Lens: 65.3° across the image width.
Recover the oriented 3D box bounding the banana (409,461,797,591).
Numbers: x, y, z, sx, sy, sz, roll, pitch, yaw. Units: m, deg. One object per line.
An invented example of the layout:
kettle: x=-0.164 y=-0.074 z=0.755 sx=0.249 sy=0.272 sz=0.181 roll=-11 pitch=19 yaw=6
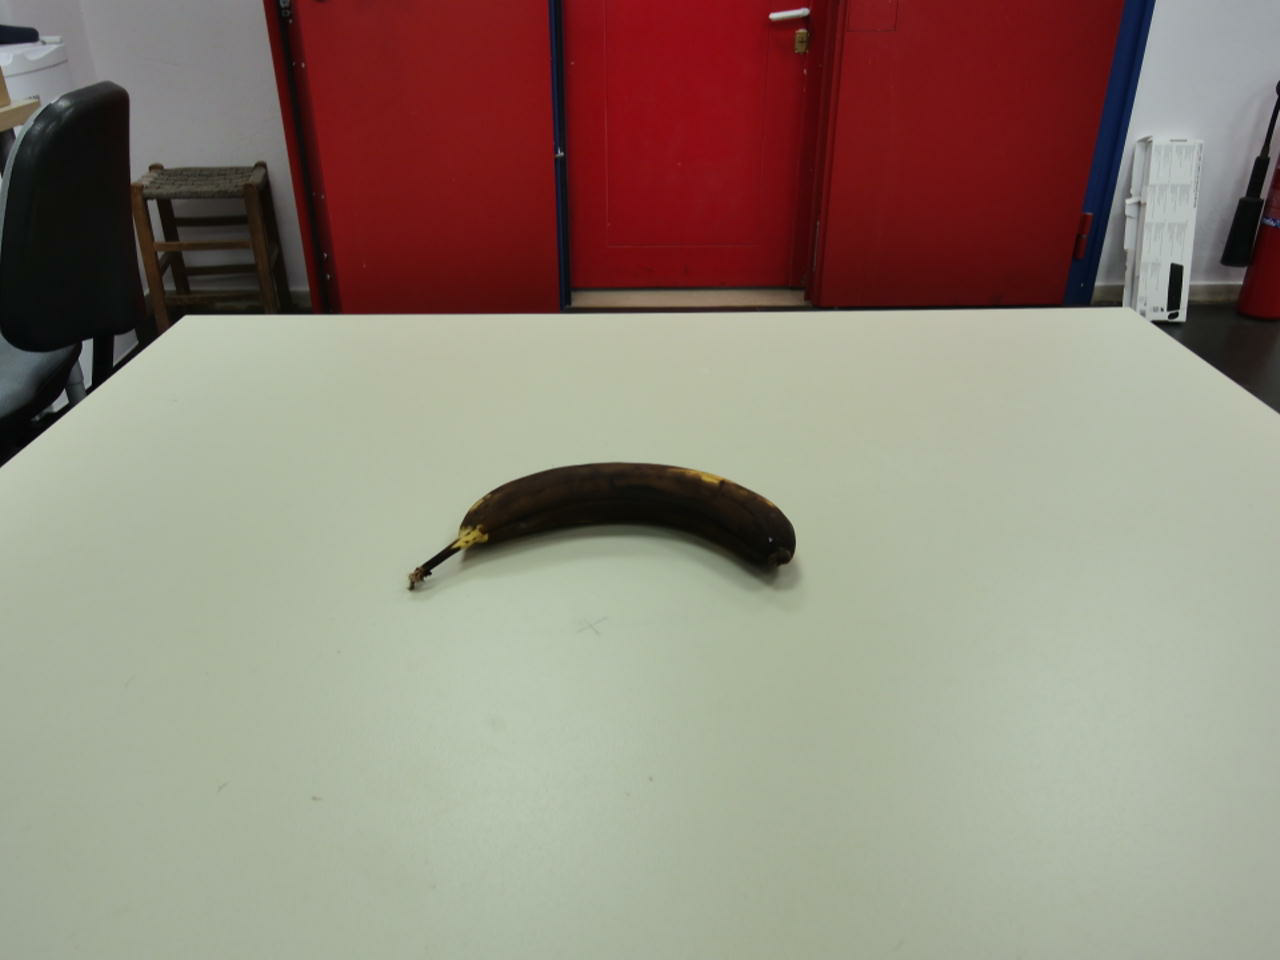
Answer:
banana: x=-0.017 y=0.018 z=0.514 sx=0.188 sy=0.034 sz=0.091 roll=0 pitch=26 yaw=1
